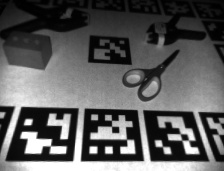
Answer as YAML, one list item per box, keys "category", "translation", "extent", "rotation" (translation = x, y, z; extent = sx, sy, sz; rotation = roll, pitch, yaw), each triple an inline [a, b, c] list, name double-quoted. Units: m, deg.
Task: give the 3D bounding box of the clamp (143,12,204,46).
- category: "clamp"
  translation: [0.153, -0.148, 0.577]
  extent: [0.166, 0.036, 0.121]
  rotation: [-22, 66, -22]

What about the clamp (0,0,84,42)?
- category: "clamp"
  translation: [-0.172, -0.165, 0.540]
  extent: [0.204, 0.037, 0.164]
  rotation: [-1, 50, -10]

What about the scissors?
- category: "scissors"
  translation: [0.096, -0.032, 0.484]
  extent: [0.087, 0.016, 0.204]
  rotation: [38, 55, 11]

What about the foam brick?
- category: "foam brick"
  translation: [-0.184, -0.060, 0.452]
  extent: [0.078, 0.051, 0.052]
  rotation: [5, 53, 2]
